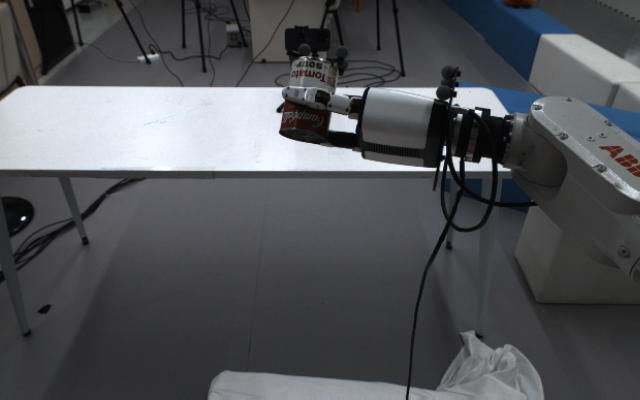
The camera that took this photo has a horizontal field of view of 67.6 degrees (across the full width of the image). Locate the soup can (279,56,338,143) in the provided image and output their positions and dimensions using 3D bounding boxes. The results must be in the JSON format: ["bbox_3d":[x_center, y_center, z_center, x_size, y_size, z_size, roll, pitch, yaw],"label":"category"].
[{"bbox_3d":[-0.014,-0.136,0.664,0.067,0.101,0.067,9,-5,1],"label":"soup can"}]
